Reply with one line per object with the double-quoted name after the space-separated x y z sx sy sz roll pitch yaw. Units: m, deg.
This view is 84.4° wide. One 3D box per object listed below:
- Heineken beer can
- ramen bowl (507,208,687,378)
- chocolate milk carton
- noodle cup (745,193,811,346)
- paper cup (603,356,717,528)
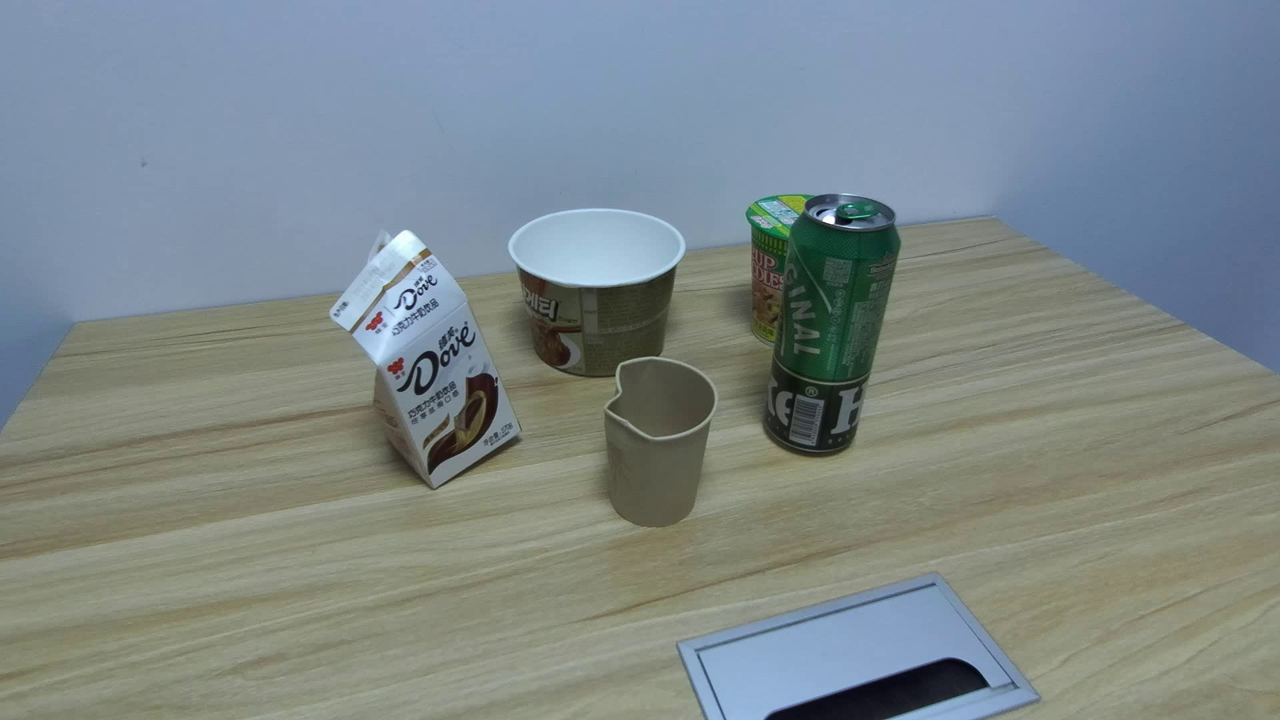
0.123 -0.018 0.465 0.067 0.169 0.067 1 33 0 "Heineken beer can"
-0.034 -0.055 0.581 0.140 0.095 0.140 2 34 -1 "ramen bowl"
-0.140 0.000 0.456 0.076 0.156 0.089 25 54 38 "chocolate milk carton"
0.135 -0.072 0.593 0.097 0.110 0.097 0 35 0 "noodle cup"
0.011 0.053 0.431 0.073 0.081 0.069 27 41 31 "paper cup"
